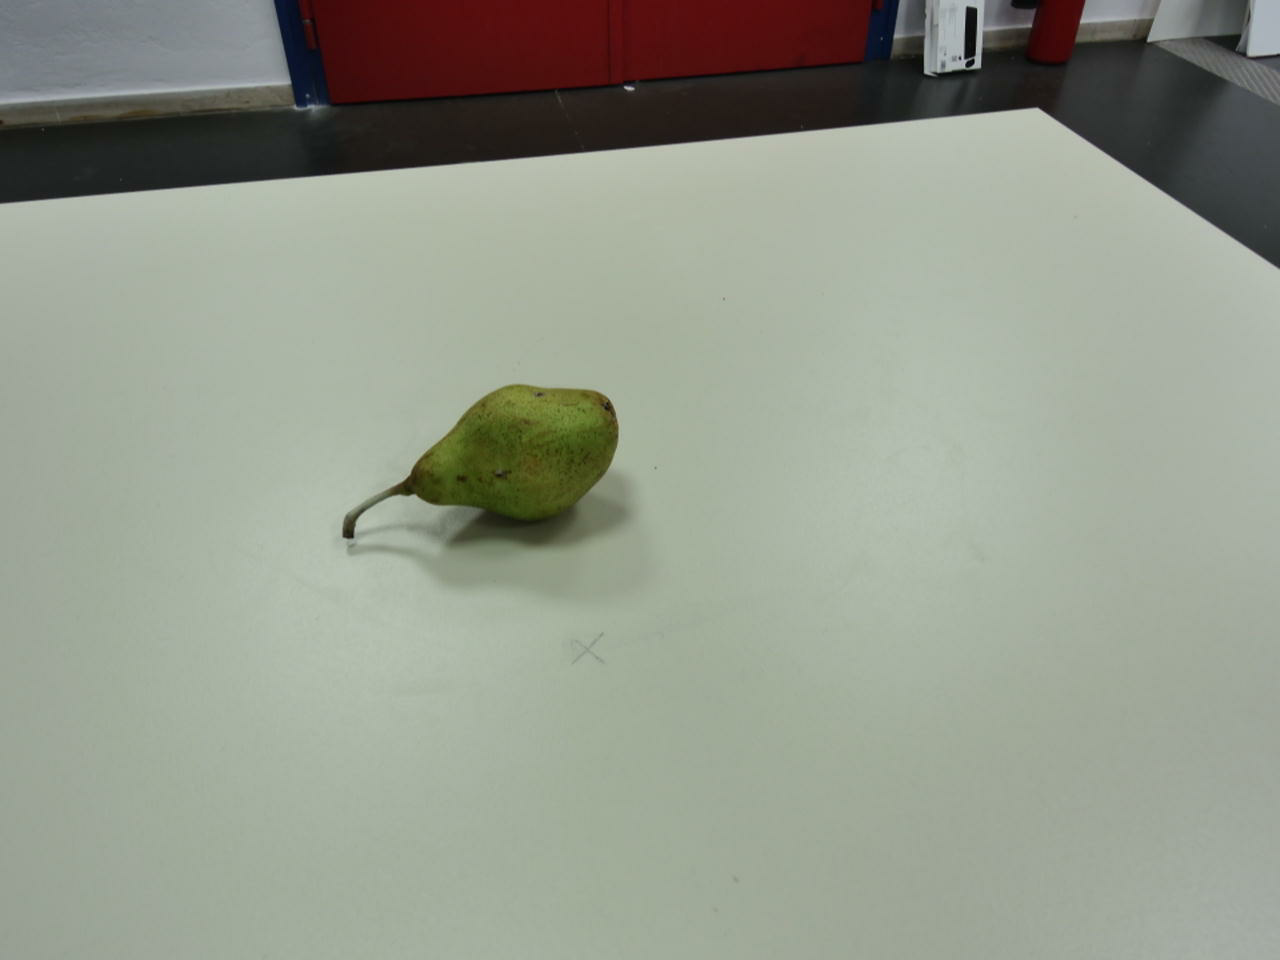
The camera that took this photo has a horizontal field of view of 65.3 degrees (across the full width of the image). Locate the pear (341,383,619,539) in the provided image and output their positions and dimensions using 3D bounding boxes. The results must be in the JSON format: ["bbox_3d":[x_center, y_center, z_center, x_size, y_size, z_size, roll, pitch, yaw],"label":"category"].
[{"bbox_3d":[-0.064,-0.012,0.405,0.111,0.056,0.056,1,38,1],"label":"pear"}]
